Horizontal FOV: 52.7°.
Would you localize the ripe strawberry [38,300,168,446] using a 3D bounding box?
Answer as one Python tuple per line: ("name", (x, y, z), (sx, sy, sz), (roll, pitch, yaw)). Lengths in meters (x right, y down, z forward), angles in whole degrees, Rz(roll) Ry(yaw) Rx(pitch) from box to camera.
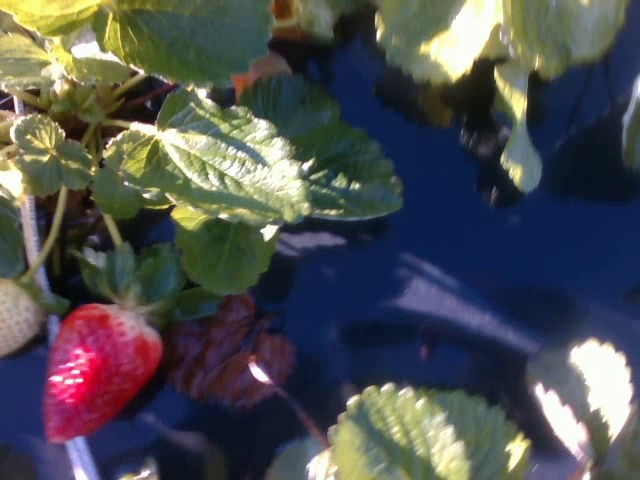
("ripe strawberry", (-0.101, 0.059, 0.294), (0.062, 0.080, 0.040), (33, -24, -20))
